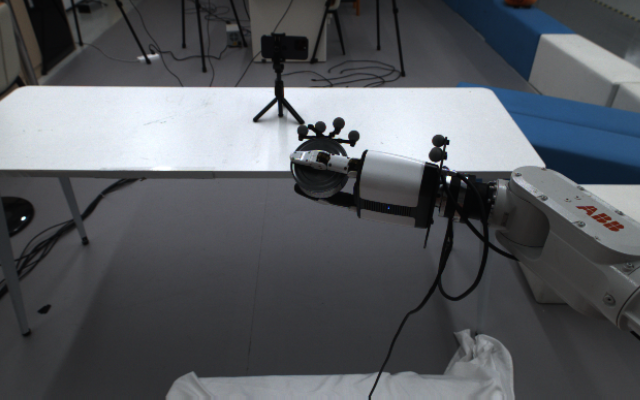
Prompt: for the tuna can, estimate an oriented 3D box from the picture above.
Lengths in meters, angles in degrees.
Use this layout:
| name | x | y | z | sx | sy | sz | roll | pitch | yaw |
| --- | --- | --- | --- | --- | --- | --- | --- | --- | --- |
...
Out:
| name | x | y | z | sx | sy | sz | roll | pitch | yaw |
| --- | --- | --- | --- | --- | --- | --- | --- | --- | --- |
| tuna can | 0.001 | -0.049 | 0.717 | 0.085 | 0.034 | 0.085 | -3 | 69 | 7 |
